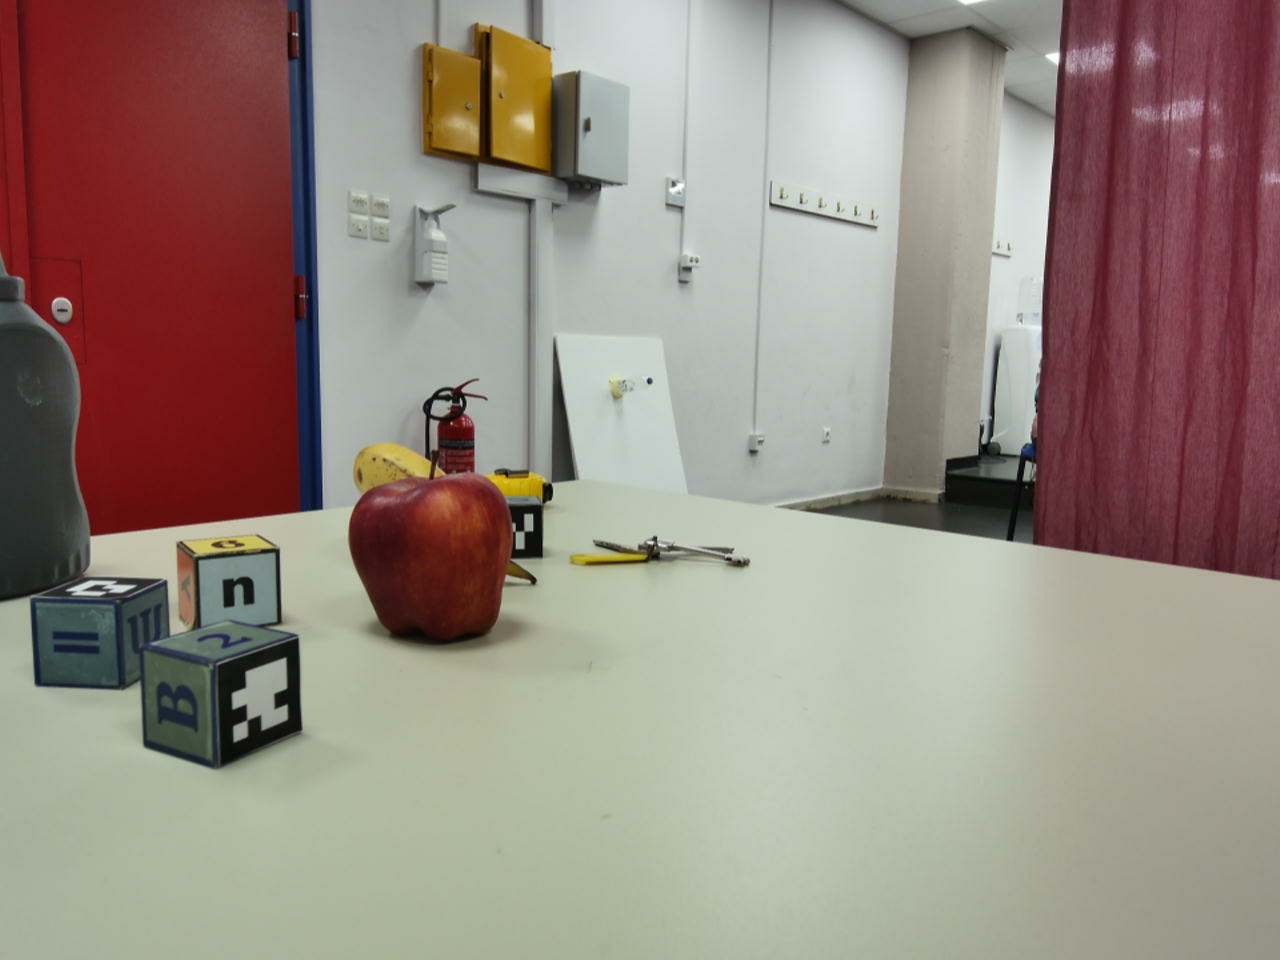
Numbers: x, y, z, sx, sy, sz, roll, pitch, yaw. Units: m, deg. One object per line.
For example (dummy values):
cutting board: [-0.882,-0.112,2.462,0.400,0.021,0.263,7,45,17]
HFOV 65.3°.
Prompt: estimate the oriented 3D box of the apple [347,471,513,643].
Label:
apple: [-0.103,0.032,0.499,0.083,0.090,0.083,2,6,0]
